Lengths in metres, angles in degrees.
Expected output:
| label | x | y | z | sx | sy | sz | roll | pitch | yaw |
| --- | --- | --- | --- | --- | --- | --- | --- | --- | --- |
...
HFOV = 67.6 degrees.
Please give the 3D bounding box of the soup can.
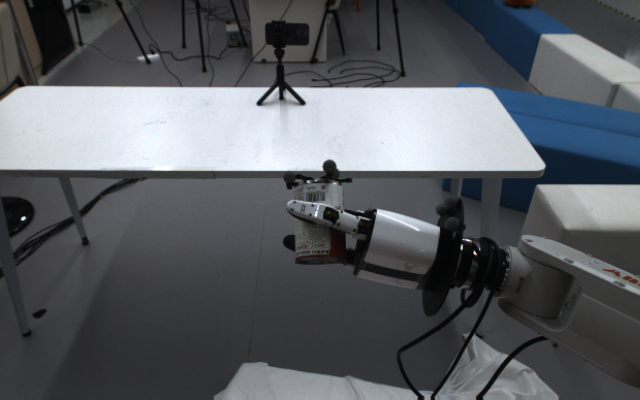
| label | x | y | z | sx | sy | sz | roll | pitch | yaw |
| --- | --- | --- | --- | --- | --- | --- | --- | --- | --- |
| soup can | 0.002 | 0.030 | 0.631 | 0.067 | 0.067 | 0.101 | -2 | 76 | -6 |
